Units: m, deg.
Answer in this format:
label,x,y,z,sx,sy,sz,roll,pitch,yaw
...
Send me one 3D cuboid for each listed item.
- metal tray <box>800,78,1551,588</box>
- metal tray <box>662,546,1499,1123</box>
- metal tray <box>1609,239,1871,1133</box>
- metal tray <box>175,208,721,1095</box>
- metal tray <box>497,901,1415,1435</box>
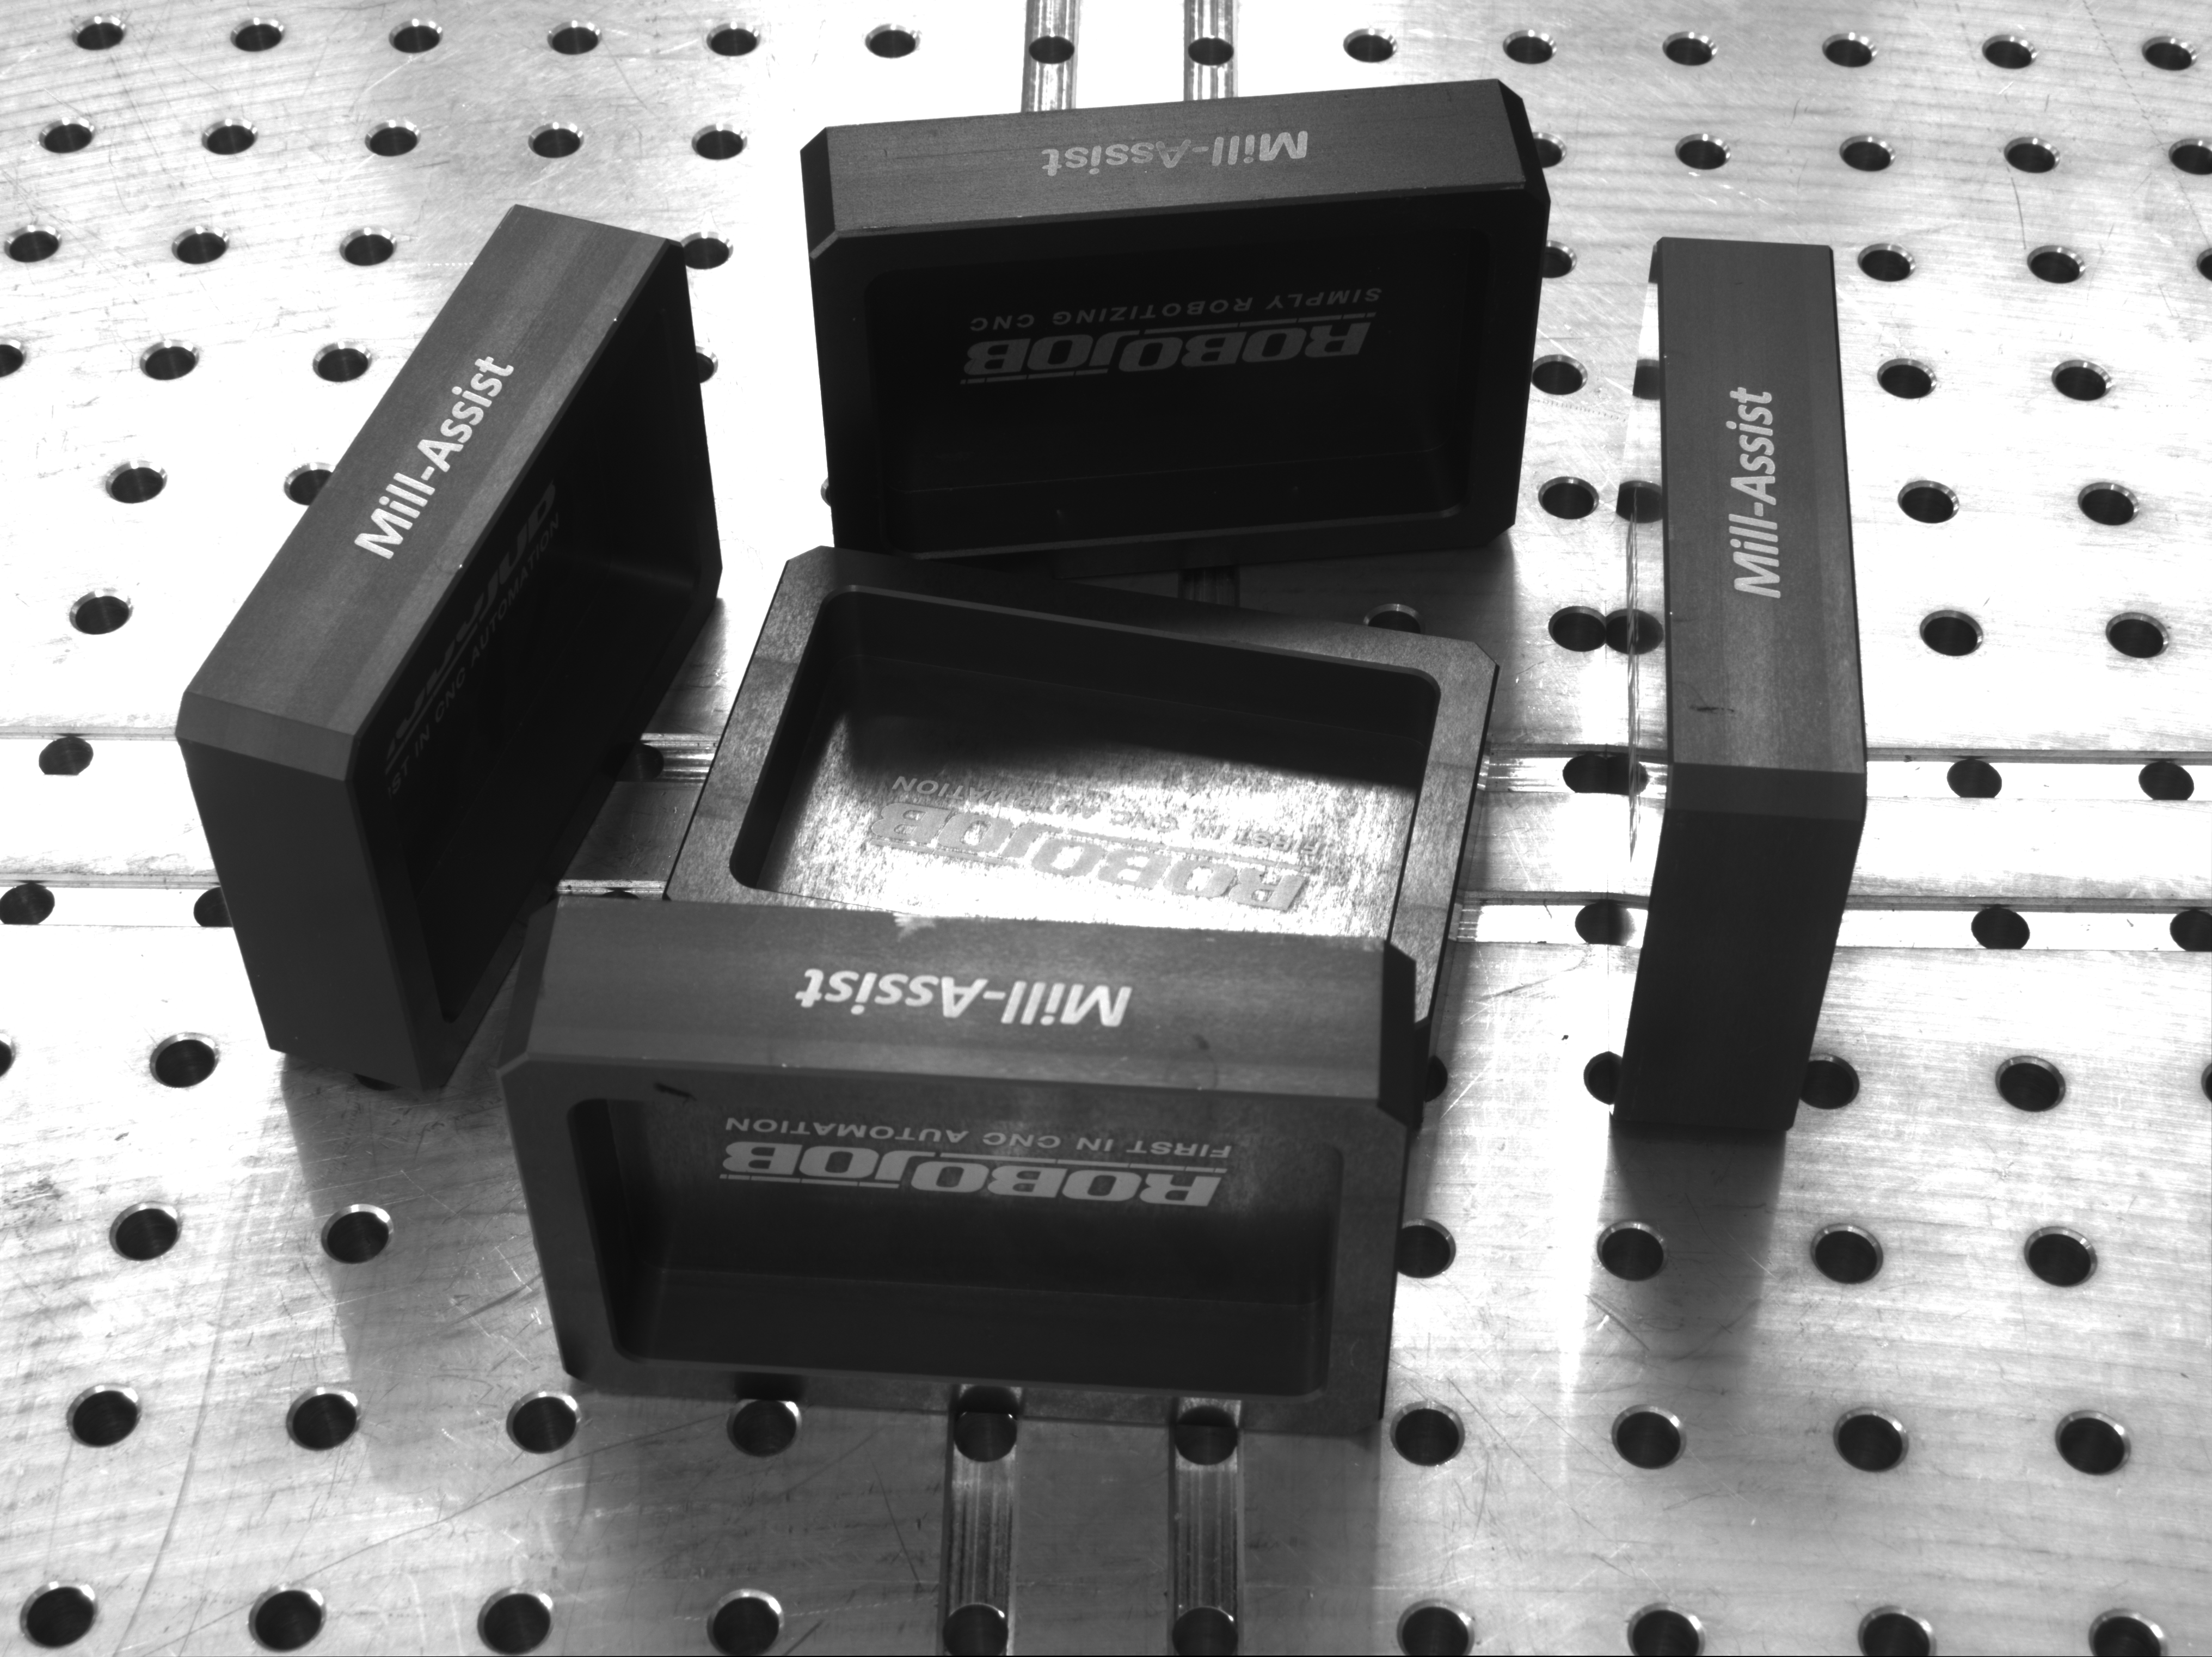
label,x,y,z,sx,sy,sz,roll,pitch,yaw
metal tray,0.012,-0.089,0.678,0.130,0.090,0.030,-5,50,-4
metal tray,-0.002,0.001,0.641,0.130,0.030,0.090,9,50,7
metal tray,0.105,-0.025,0.624,0.030,0.090,0.130,4,50,3
metal tray,-0.108,-0.031,0.630,0.030,0.090,0.130,14,51,12
metal tray,-0.020,0.053,0.559,0.130,0.090,0.030,3,50,3
